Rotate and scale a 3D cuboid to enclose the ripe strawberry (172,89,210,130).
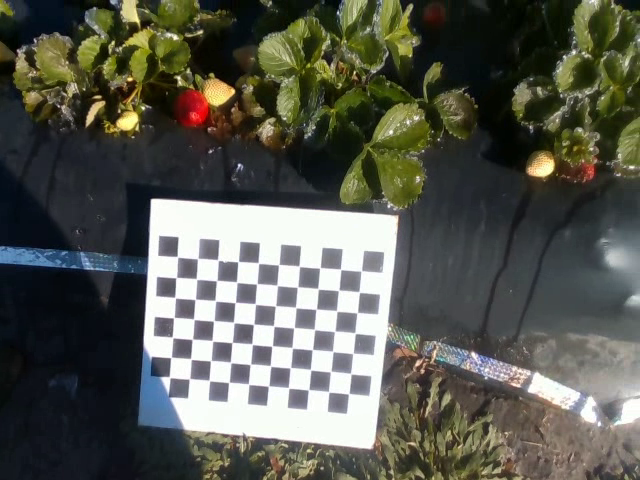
[{"bbox_3d":[-0.131,-0.131,0.597,0.040,0.042,0.053,-31,31,3],"label":"ripe strawberry"}]
